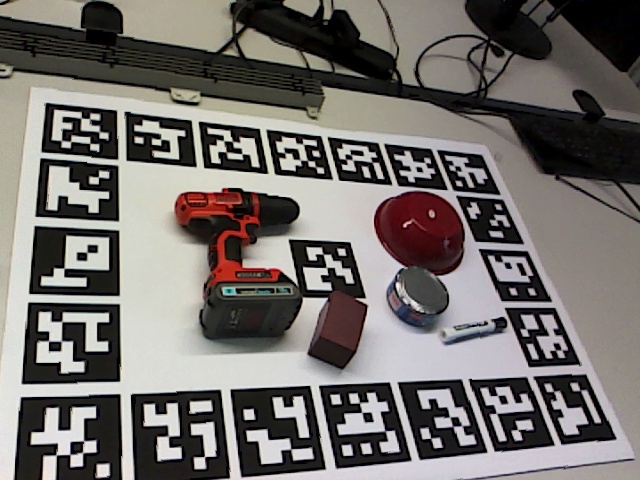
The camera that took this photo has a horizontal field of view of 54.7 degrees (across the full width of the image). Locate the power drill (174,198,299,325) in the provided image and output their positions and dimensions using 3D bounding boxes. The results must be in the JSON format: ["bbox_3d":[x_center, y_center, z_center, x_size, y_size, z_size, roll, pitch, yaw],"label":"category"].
[{"bbox_3d":[-0.098,0.023,0.837,0.183,0.057,0.188,4,49,-26],"label":"power drill"}]

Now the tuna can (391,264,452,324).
[{"bbox_3d":[0.148,0.080,0.911,0.085,0.034,0.086,14,48,-17],"label":"tuna can"}]

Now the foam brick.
[{"bbox_3d":[0.028,0.122,0.820,0.051,0.053,0.078,23,49,-8],"label":"foam brick"}]

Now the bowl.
[{"bbox_3d":[0.169,-0.021,1.003,0.161,0.055,0.162,11,44,-11],"label":"bowl"}]

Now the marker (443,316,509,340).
[{"bbox_3d":[0.235,0.130,0.918,0.120,0.019,0.020,-6,58,-29],"label":"marker"}]
